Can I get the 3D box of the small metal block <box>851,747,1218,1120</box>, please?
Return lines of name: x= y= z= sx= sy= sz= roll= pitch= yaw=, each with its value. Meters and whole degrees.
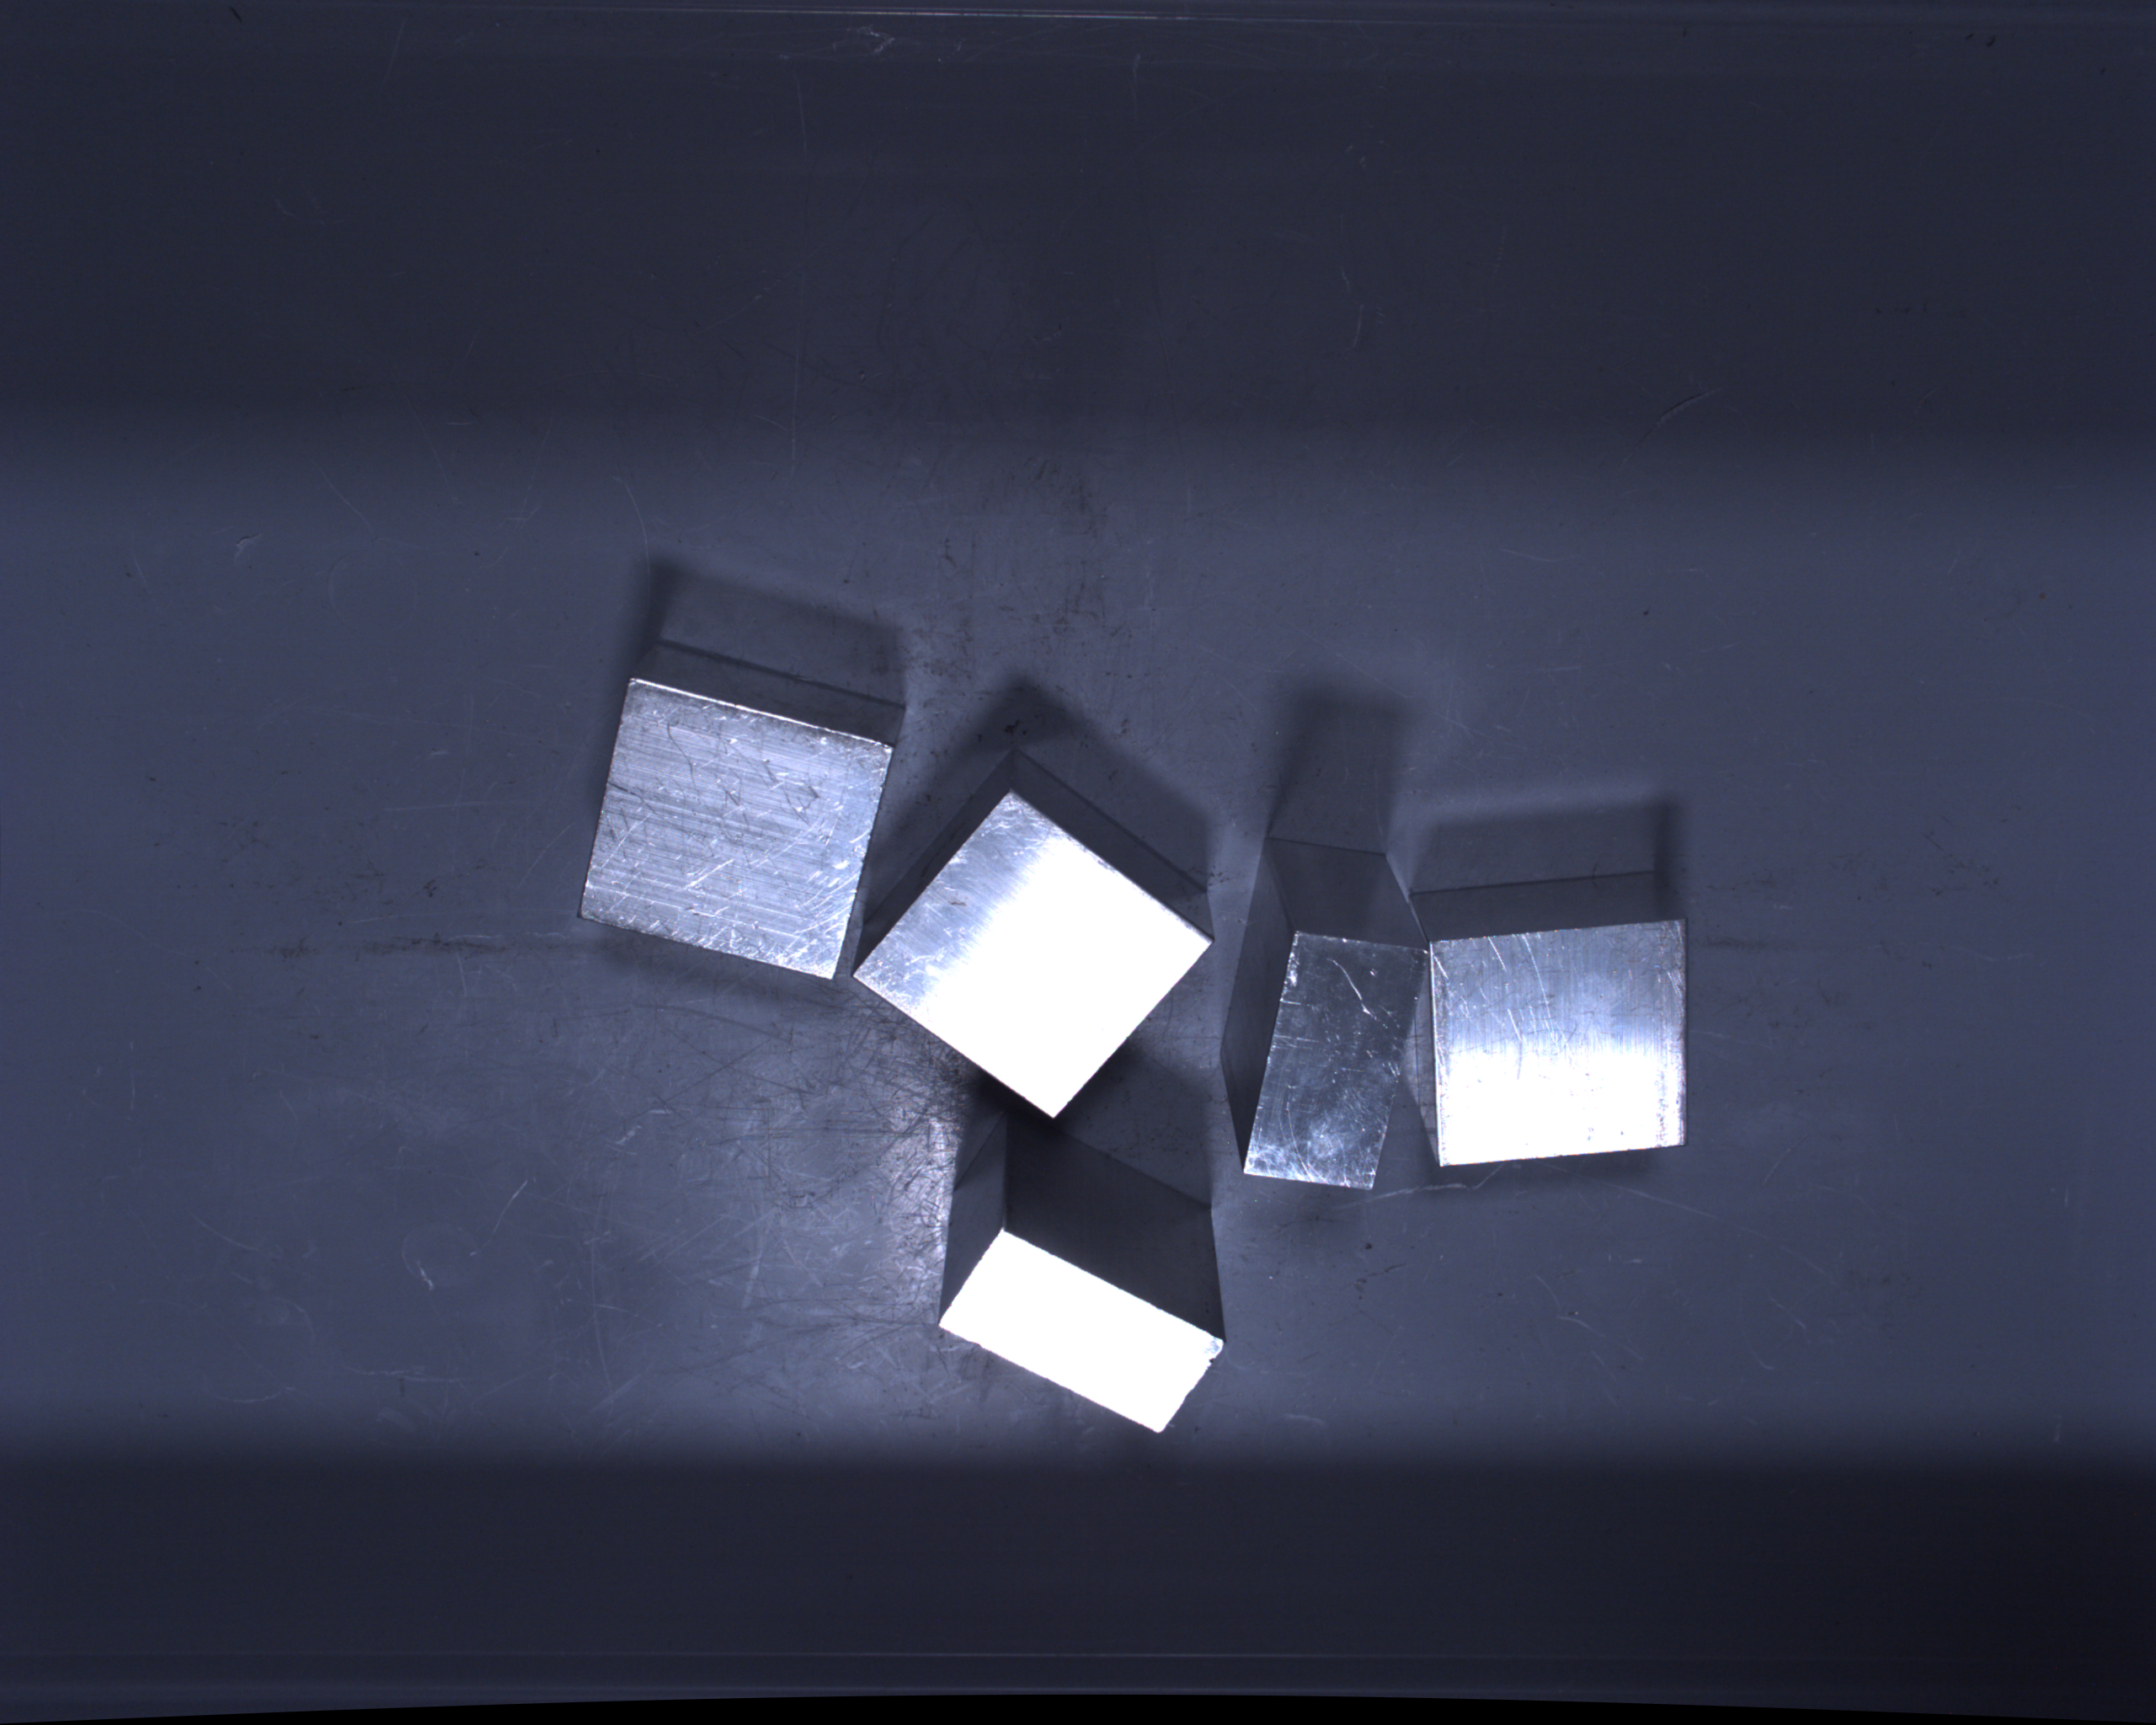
small metal block: x=-0.009 y=0.014 z=0.414 sx=0.050 sy=0.025 sz=0.050 roll=37 pitch=106 yaw=-13

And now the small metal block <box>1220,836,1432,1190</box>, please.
small metal block: x=0.047 y=0.028 z=0.407 sx=0.025 sy=0.050 sz=0.050 roll=9 pitch=110 yaw=-4

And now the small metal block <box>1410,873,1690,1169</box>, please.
small metal block: x=0.095 y=0.032 z=0.422 sx=0.050 sy=0.025 sz=0.050 roll=-5 pitch=110 yaw=1

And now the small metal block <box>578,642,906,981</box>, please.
small metal block: x=-0.065 y=-0.010 z=0.404 sx=0.050 sy=0.025 sz=0.050 roll=14 pitch=109 yaw=-6

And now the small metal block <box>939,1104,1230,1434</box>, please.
small metal block: x=0.001 y=0.082 z=0.426 sx=0.050 sy=0.050 sz=0.025 roll=29 pitch=108 yaw=-11
